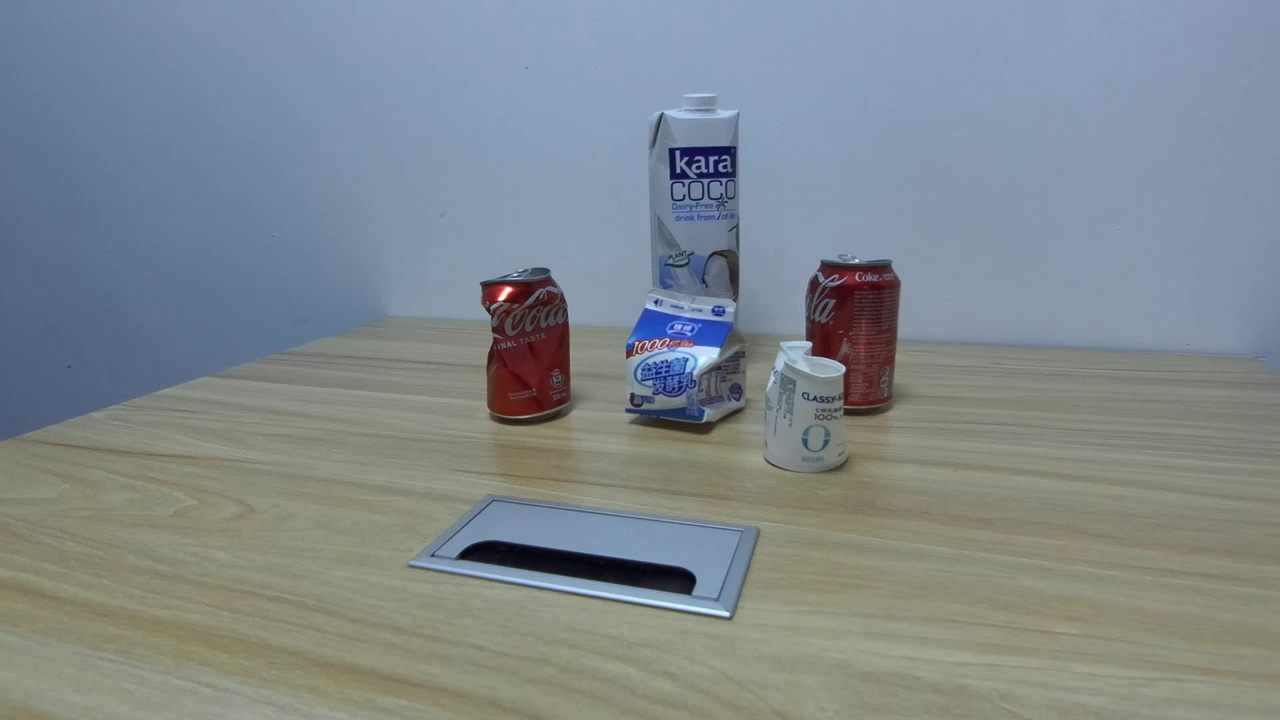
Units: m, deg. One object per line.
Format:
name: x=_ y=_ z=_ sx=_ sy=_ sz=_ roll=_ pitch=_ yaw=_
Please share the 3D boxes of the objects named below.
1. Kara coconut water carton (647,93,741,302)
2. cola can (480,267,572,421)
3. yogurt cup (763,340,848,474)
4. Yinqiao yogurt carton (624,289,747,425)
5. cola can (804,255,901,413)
Kara coconut water carton: x=0.051 y=-0.110 z=0.643 sx=0.077 sy=0.245 sz=0.075 roll=-4 pitch=14 yaw=-8
cola can: x=-0.089 y=-0.013 z=0.553 sx=0.069 sy=0.112 sz=0.065 roll=-10 pitch=17 yaw=-28
yogurt cup: x=0.108 y=0.029 z=0.454 sx=0.054 sy=0.071 sz=0.075 roll=-9 pitch=18 yaw=-26
Yinqiao yogurt carton: x=0.036 y=-0.003 z=0.532 sx=0.074 sy=0.097 sz=0.080 roll=6 pitch=10 yaw=24
cola can: x=0.164 y=-0.021 z=0.552 sx=0.072 sy=0.117 sz=0.065 roll=3 pitch=17 yaw=16
